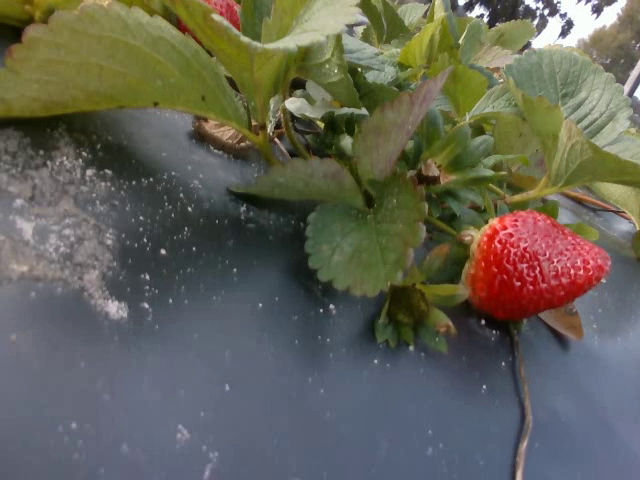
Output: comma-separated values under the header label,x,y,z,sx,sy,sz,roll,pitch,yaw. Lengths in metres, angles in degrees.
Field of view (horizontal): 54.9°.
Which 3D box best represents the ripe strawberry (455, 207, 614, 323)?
label,x,y,z,sx,sy,sz,roll,pitch,yaw
ripe strawberry,0.081,0.011,0.225,0.050,0.049,0.053,14,-3,-30
